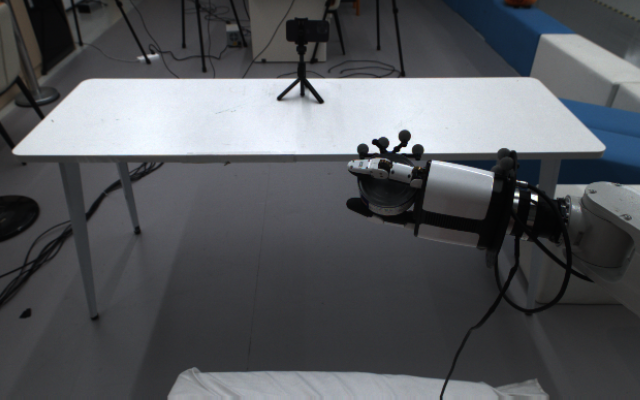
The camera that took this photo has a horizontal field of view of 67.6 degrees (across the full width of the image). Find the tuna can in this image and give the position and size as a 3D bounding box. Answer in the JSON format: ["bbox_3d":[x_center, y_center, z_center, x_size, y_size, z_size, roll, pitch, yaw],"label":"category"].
[{"bbox_3d":[0.098,-0.018,0.679,0.085,0.034,0.085,-4,62,7],"label":"tuna can"}]
